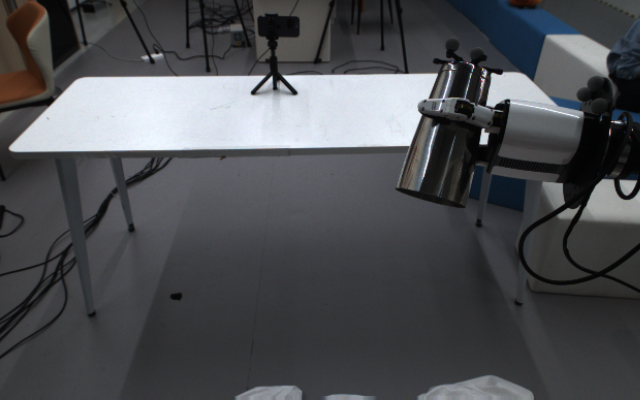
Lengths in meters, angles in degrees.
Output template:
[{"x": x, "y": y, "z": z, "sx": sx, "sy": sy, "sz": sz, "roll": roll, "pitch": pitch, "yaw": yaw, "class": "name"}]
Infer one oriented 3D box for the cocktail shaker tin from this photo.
[{"x": 0.166, "y": -0.084, "z": 0.622, "sx": 0.093, "sy": 0.170, "sz": 0.093, "roll": 16, "pitch": -2, "yaw": 1, "class": "cocktail shaker tin"}]
